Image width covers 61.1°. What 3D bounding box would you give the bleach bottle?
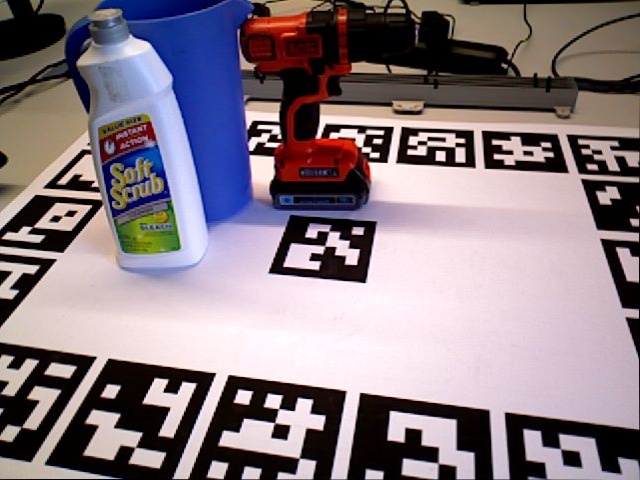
[{"bbox_3d":[-0.176,-0.099,0.487,0.102,0.256,0.066,-1,41,4],"label":"bleach bottle"}]

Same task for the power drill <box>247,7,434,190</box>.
[{"bbox_3d":[0.019,-0.142,0.562,0.184,0.191,0.056,4,44,2],"label":"power drill"}]

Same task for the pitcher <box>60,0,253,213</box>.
[{"bbox_3d":[-0.149,-0.148,0.572,0.187,0.248,0.132,-14,44,-11],"label":"pitcher"}]
